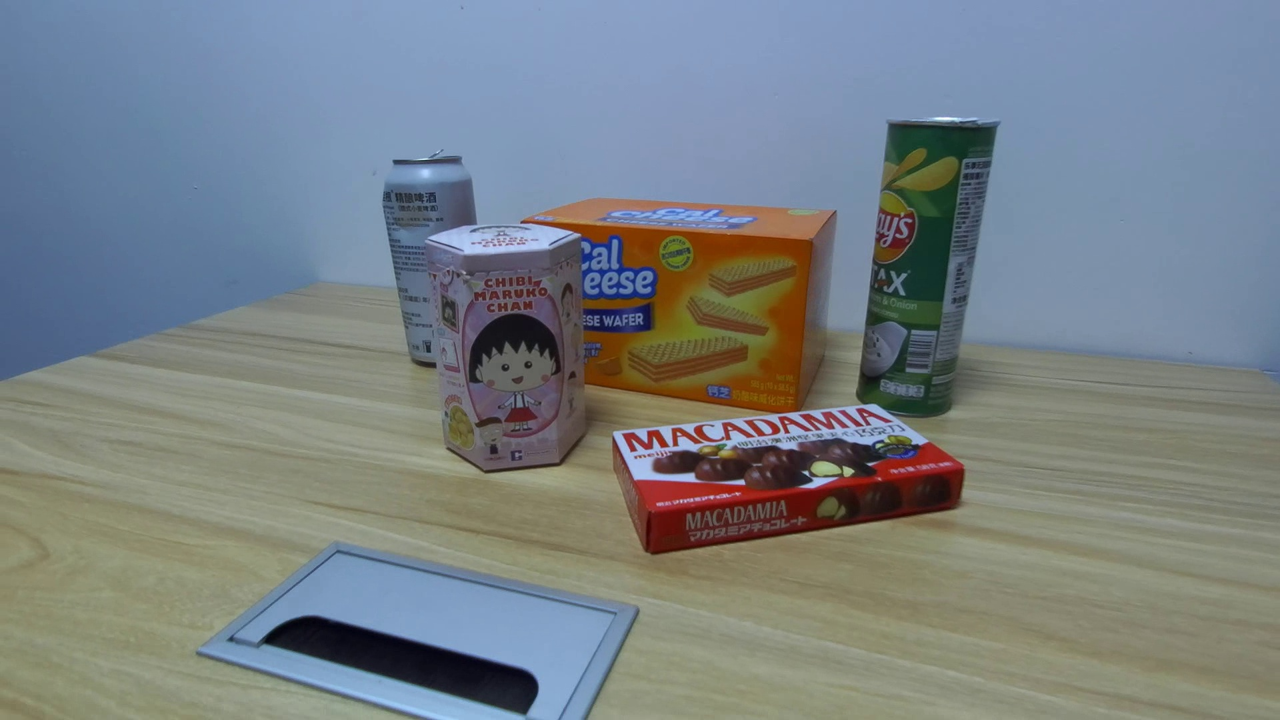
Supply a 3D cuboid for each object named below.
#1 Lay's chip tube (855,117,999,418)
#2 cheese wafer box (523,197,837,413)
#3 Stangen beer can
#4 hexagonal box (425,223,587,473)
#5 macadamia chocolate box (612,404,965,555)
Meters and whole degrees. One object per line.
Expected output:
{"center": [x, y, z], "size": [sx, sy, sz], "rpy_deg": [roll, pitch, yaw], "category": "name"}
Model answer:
{"center": [0.199, -0.065, 0.498], "size": [0.071, 0.202, 0.071], "rpy_deg": [0, 19, 0], "category": "Lay's chip tube"}
{"center": [0.036, -0.055, 0.576], "size": [0.221, 0.129, 0.148], "rpy_deg": [8, 22, 19], "category": "cheese wafer box"}
{"center": [-0.166, -0.080, 0.582], "size": [0.070, 0.173, 0.069], "rpy_deg": [-3, 9, 4], "category": "Stangen beer can"}
{"center": [-0.079, -0.009, 0.437], "size": [0.091, 0.136, 0.083], "rpy_deg": [-5, 20, -12], "category": "hexagonal box"}
{"center": [0.079, 0.062, 0.405], "size": [0.178, 0.027, 0.095], "rpy_deg": [-5, 20, -12], "category": "macadamia chocolate box"}
